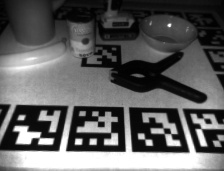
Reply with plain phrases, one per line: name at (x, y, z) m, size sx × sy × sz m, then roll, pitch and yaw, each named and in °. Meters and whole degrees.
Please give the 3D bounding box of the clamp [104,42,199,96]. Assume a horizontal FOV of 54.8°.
clamp at (0.078, -0.044, 0.494) m, size 0.203 × 0.037 × 0.164 m, roll 0°, pitch 51°, yaw -4°

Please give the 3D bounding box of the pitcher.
pitcher at (-0.206, -0.247, 0.536) m, size 0.190 × 0.244 × 0.131 m, roll -17°, pitch 47°, yaw -18°

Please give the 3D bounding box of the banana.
banana at (-0.213, -0.095, 0.536) m, size 0.199 × 0.039 × 0.073 m, roll -17°, pitch 41°, yaw -20°

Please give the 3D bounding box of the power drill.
power drill at (0.032, -0.262, 0.576) m, size 0.185 × 0.188 × 0.057 m, roll -2°, pitch 47°, yaw -6°

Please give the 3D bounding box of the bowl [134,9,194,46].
bowl at (0.139, -0.159, 0.602) m, size 0.162 × 0.055 × 0.161 m, roll 2°, pitch 48°, yaw -1°

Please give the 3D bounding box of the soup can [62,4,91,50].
soup can at (-0.088, -0.151, 0.551) m, size 0.068 × 0.102 × 0.067 m, roll 1°, pitch 38°, yaw 0°
